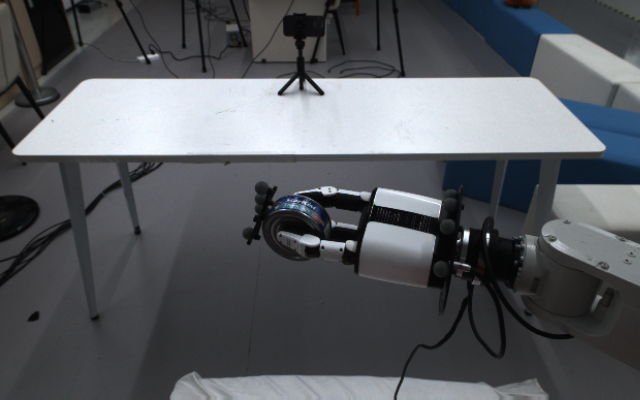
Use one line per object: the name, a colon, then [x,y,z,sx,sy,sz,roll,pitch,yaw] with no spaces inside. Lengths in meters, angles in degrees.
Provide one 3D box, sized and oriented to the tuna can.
tuna can: [-0.028,0.041,0.621,0.085,0.085,0.034,10,35,11]
